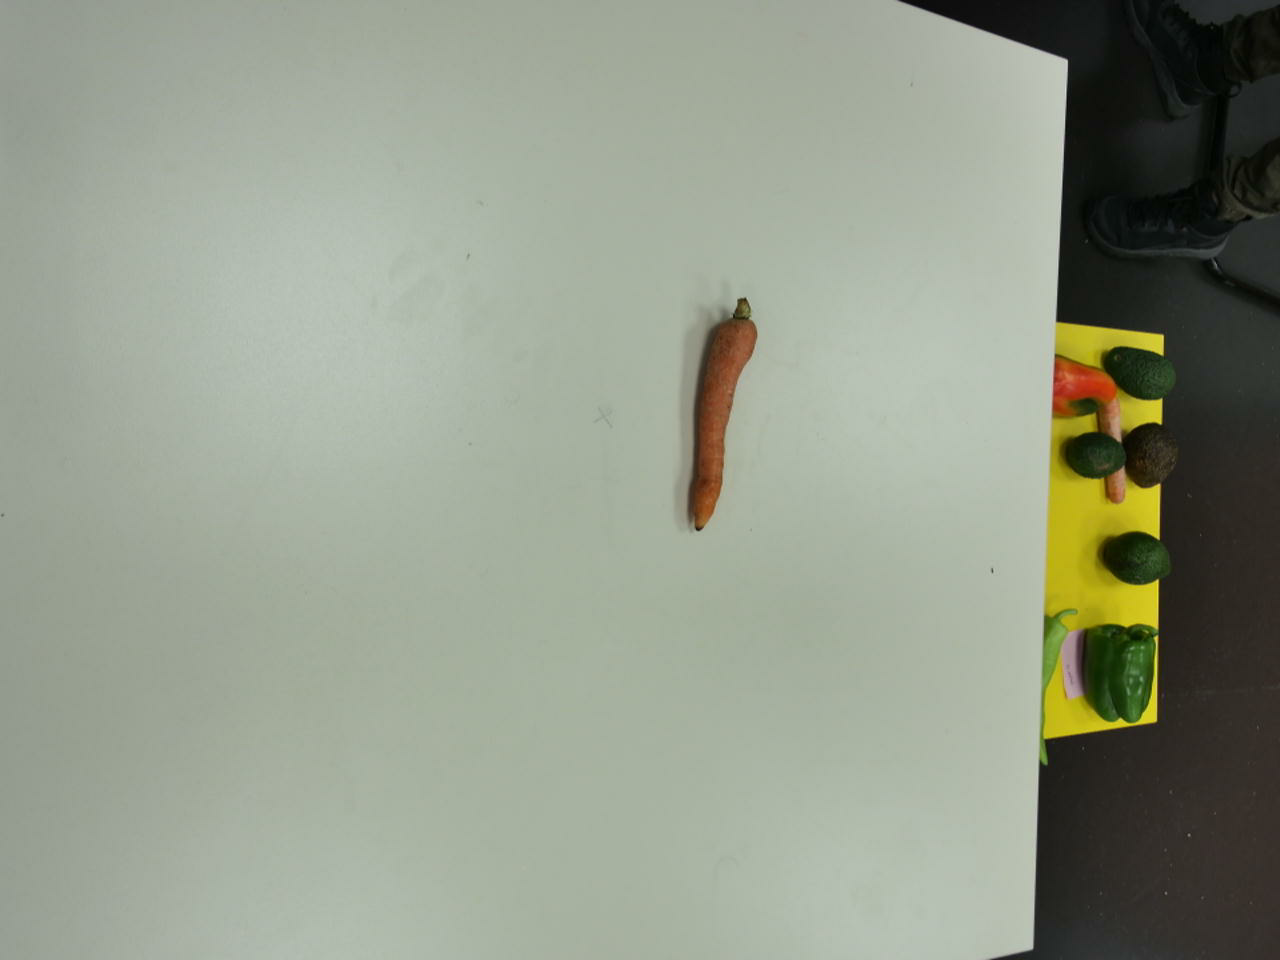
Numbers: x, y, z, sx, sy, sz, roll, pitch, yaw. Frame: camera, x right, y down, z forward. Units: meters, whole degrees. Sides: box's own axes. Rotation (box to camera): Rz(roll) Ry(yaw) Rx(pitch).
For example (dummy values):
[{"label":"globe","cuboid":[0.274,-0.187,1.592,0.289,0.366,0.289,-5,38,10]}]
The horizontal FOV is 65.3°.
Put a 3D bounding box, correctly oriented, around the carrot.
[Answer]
[{"label":"carrot","cuboid":[0.058,-0.047,0.718,0.030,0.032,0.173,14,84,-28]}]
